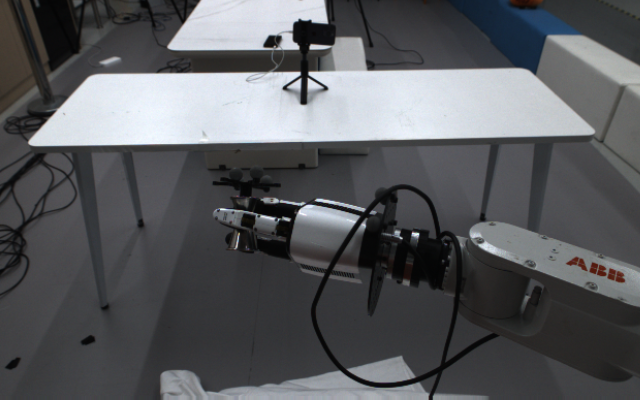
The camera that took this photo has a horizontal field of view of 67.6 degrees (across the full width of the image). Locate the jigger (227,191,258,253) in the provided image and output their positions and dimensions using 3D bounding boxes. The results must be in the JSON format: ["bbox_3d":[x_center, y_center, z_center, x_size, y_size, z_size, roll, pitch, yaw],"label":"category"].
[{"bbox_3d":[-0.097,0.031,0.622,0.043,0.071,0.043,2,-6,0],"label":"jigger"}]
